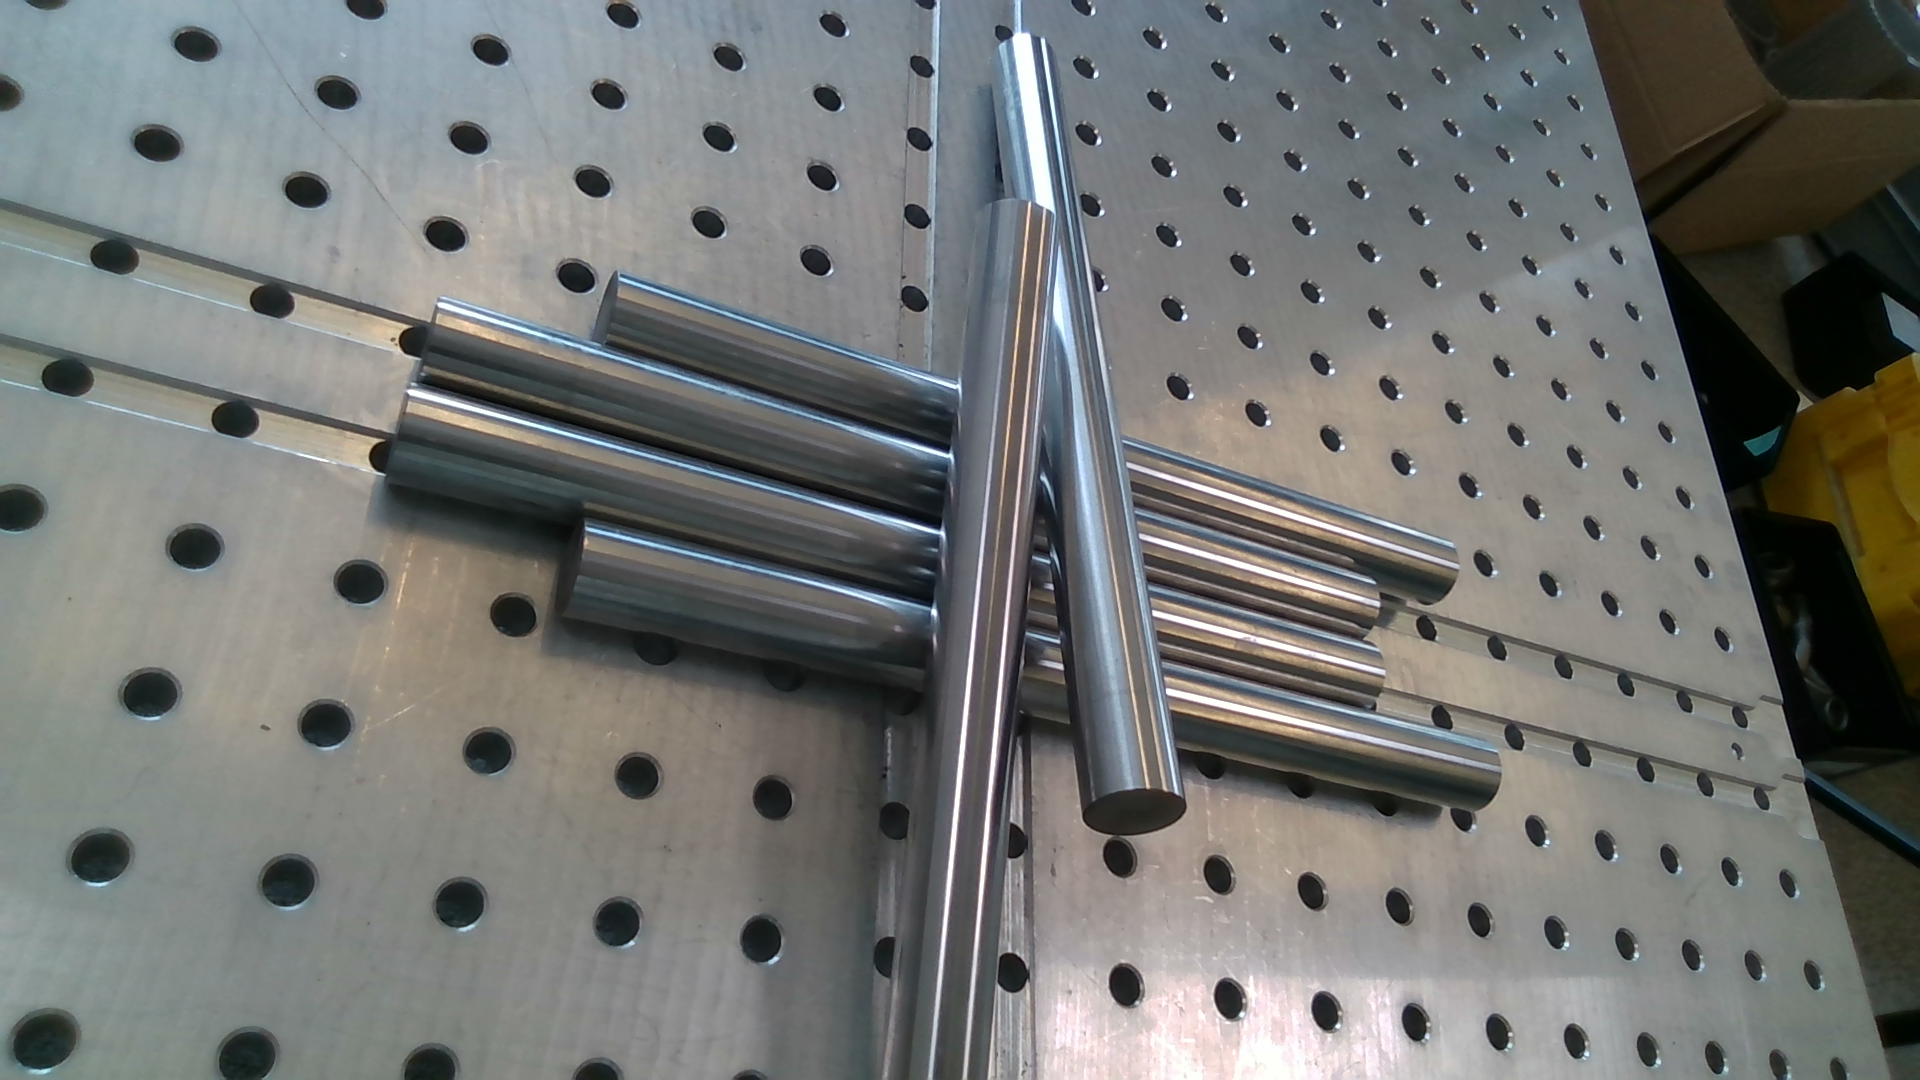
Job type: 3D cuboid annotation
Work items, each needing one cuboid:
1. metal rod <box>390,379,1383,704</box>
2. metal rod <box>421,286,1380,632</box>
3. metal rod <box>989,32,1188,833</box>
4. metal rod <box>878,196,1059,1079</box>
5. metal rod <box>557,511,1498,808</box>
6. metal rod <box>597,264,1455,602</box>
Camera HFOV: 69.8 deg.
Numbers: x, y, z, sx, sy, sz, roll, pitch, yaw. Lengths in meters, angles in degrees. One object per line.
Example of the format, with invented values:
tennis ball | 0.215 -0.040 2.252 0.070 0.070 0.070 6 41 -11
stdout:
metal rod | -0.001 0.009 0.392 0.300 0.025 0.025 15 58 -24
metal rod | 0.001 -0.014 0.403 0.300 0.025 0.025 16 58 -24
metal rod | 0.032 -0.056 0.416 0.025 0.025 0.299 15 49 -24
metal rod | 0.002 0.046 0.346 0.025 0.025 0.299 16 67 -24
metal rod | 0.038 0.041 0.396 0.300 0.025 0.025 15 58 -25
metal rod | 0.036 -0.026 0.431 0.300 0.025 0.025 15 58 -25
